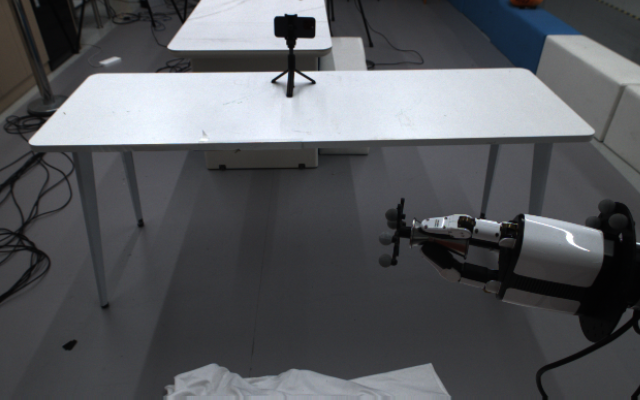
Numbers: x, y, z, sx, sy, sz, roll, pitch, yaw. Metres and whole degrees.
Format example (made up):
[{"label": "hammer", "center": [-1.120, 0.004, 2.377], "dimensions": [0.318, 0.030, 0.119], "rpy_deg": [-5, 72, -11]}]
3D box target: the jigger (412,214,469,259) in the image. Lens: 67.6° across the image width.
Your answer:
[{"label": "jigger", "center": [0.154, 0.040, 0.594], "dimensions": [0.071, 0.043, 0.043], "rpy_deg": [8, 35, 15]}]
